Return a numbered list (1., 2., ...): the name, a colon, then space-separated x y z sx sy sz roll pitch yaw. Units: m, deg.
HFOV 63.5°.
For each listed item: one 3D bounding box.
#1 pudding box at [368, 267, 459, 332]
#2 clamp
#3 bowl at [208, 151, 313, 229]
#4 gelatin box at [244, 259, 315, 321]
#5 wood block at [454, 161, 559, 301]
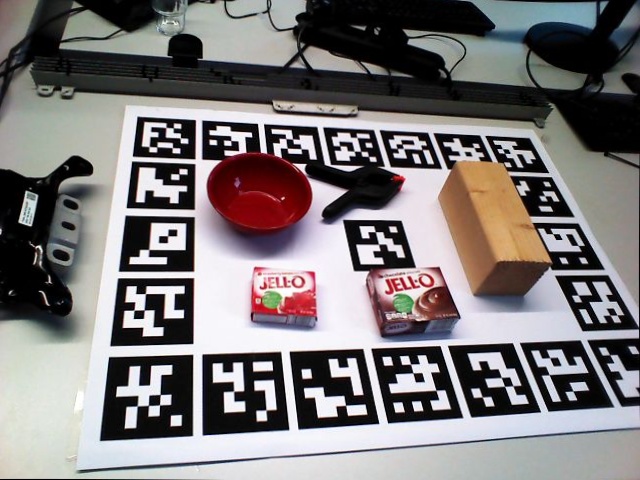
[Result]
1. pudding box: 0.130 0.083 0.731 0.114 0.039 0.089 1 56 -9
2. clamp: 0.061 -0.091 0.865 0.165 0.037 0.121 -5 53 -19
3. bowl: -0.092 -0.071 0.802 0.162 0.055 0.160 6 54 -9
4. gelatin box: -0.054 0.067 0.707 0.089 0.030 0.073 9 52 -6
5. wood block: 0.281 -0.017 0.810 0.090 0.091 0.205 5 51 -10
